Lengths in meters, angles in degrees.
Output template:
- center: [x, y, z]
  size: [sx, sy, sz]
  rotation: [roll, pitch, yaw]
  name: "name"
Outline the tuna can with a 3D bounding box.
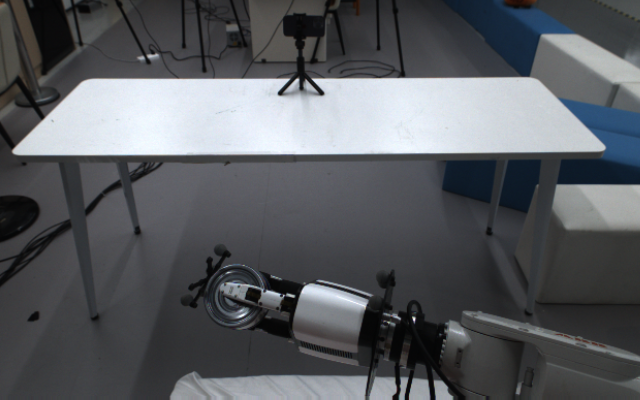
- center: [-0.107, 0.133, 0.642]
  size: [0.085, 0.034, 0.085]
  rotation: [-2, 72, 6]
  name: "tuna can"
